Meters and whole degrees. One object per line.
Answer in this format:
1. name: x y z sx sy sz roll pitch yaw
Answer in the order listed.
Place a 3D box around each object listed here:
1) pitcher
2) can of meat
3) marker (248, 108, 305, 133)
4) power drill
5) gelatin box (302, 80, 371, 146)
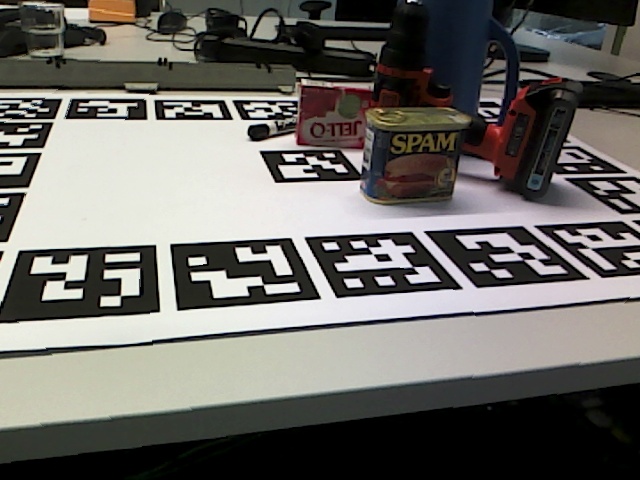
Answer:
1. pitcher: 0.170 -0.232 0.765 0.189 0.242 0.133 8 32 19
2. can of meat: 0.090 -0.083 0.632 0.101 0.083 0.058 -3 29 -14
3. marker: -0.042 -0.160 0.813 0.120 0.019 0.020 -20 39 -35
4. power drill: 0.145 -0.158 0.679 0.187 0.184 0.057 20 35 14
5. gelatin box: 0.025 -0.156 0.768 0.089 0.073 0.030 4 34 -5
